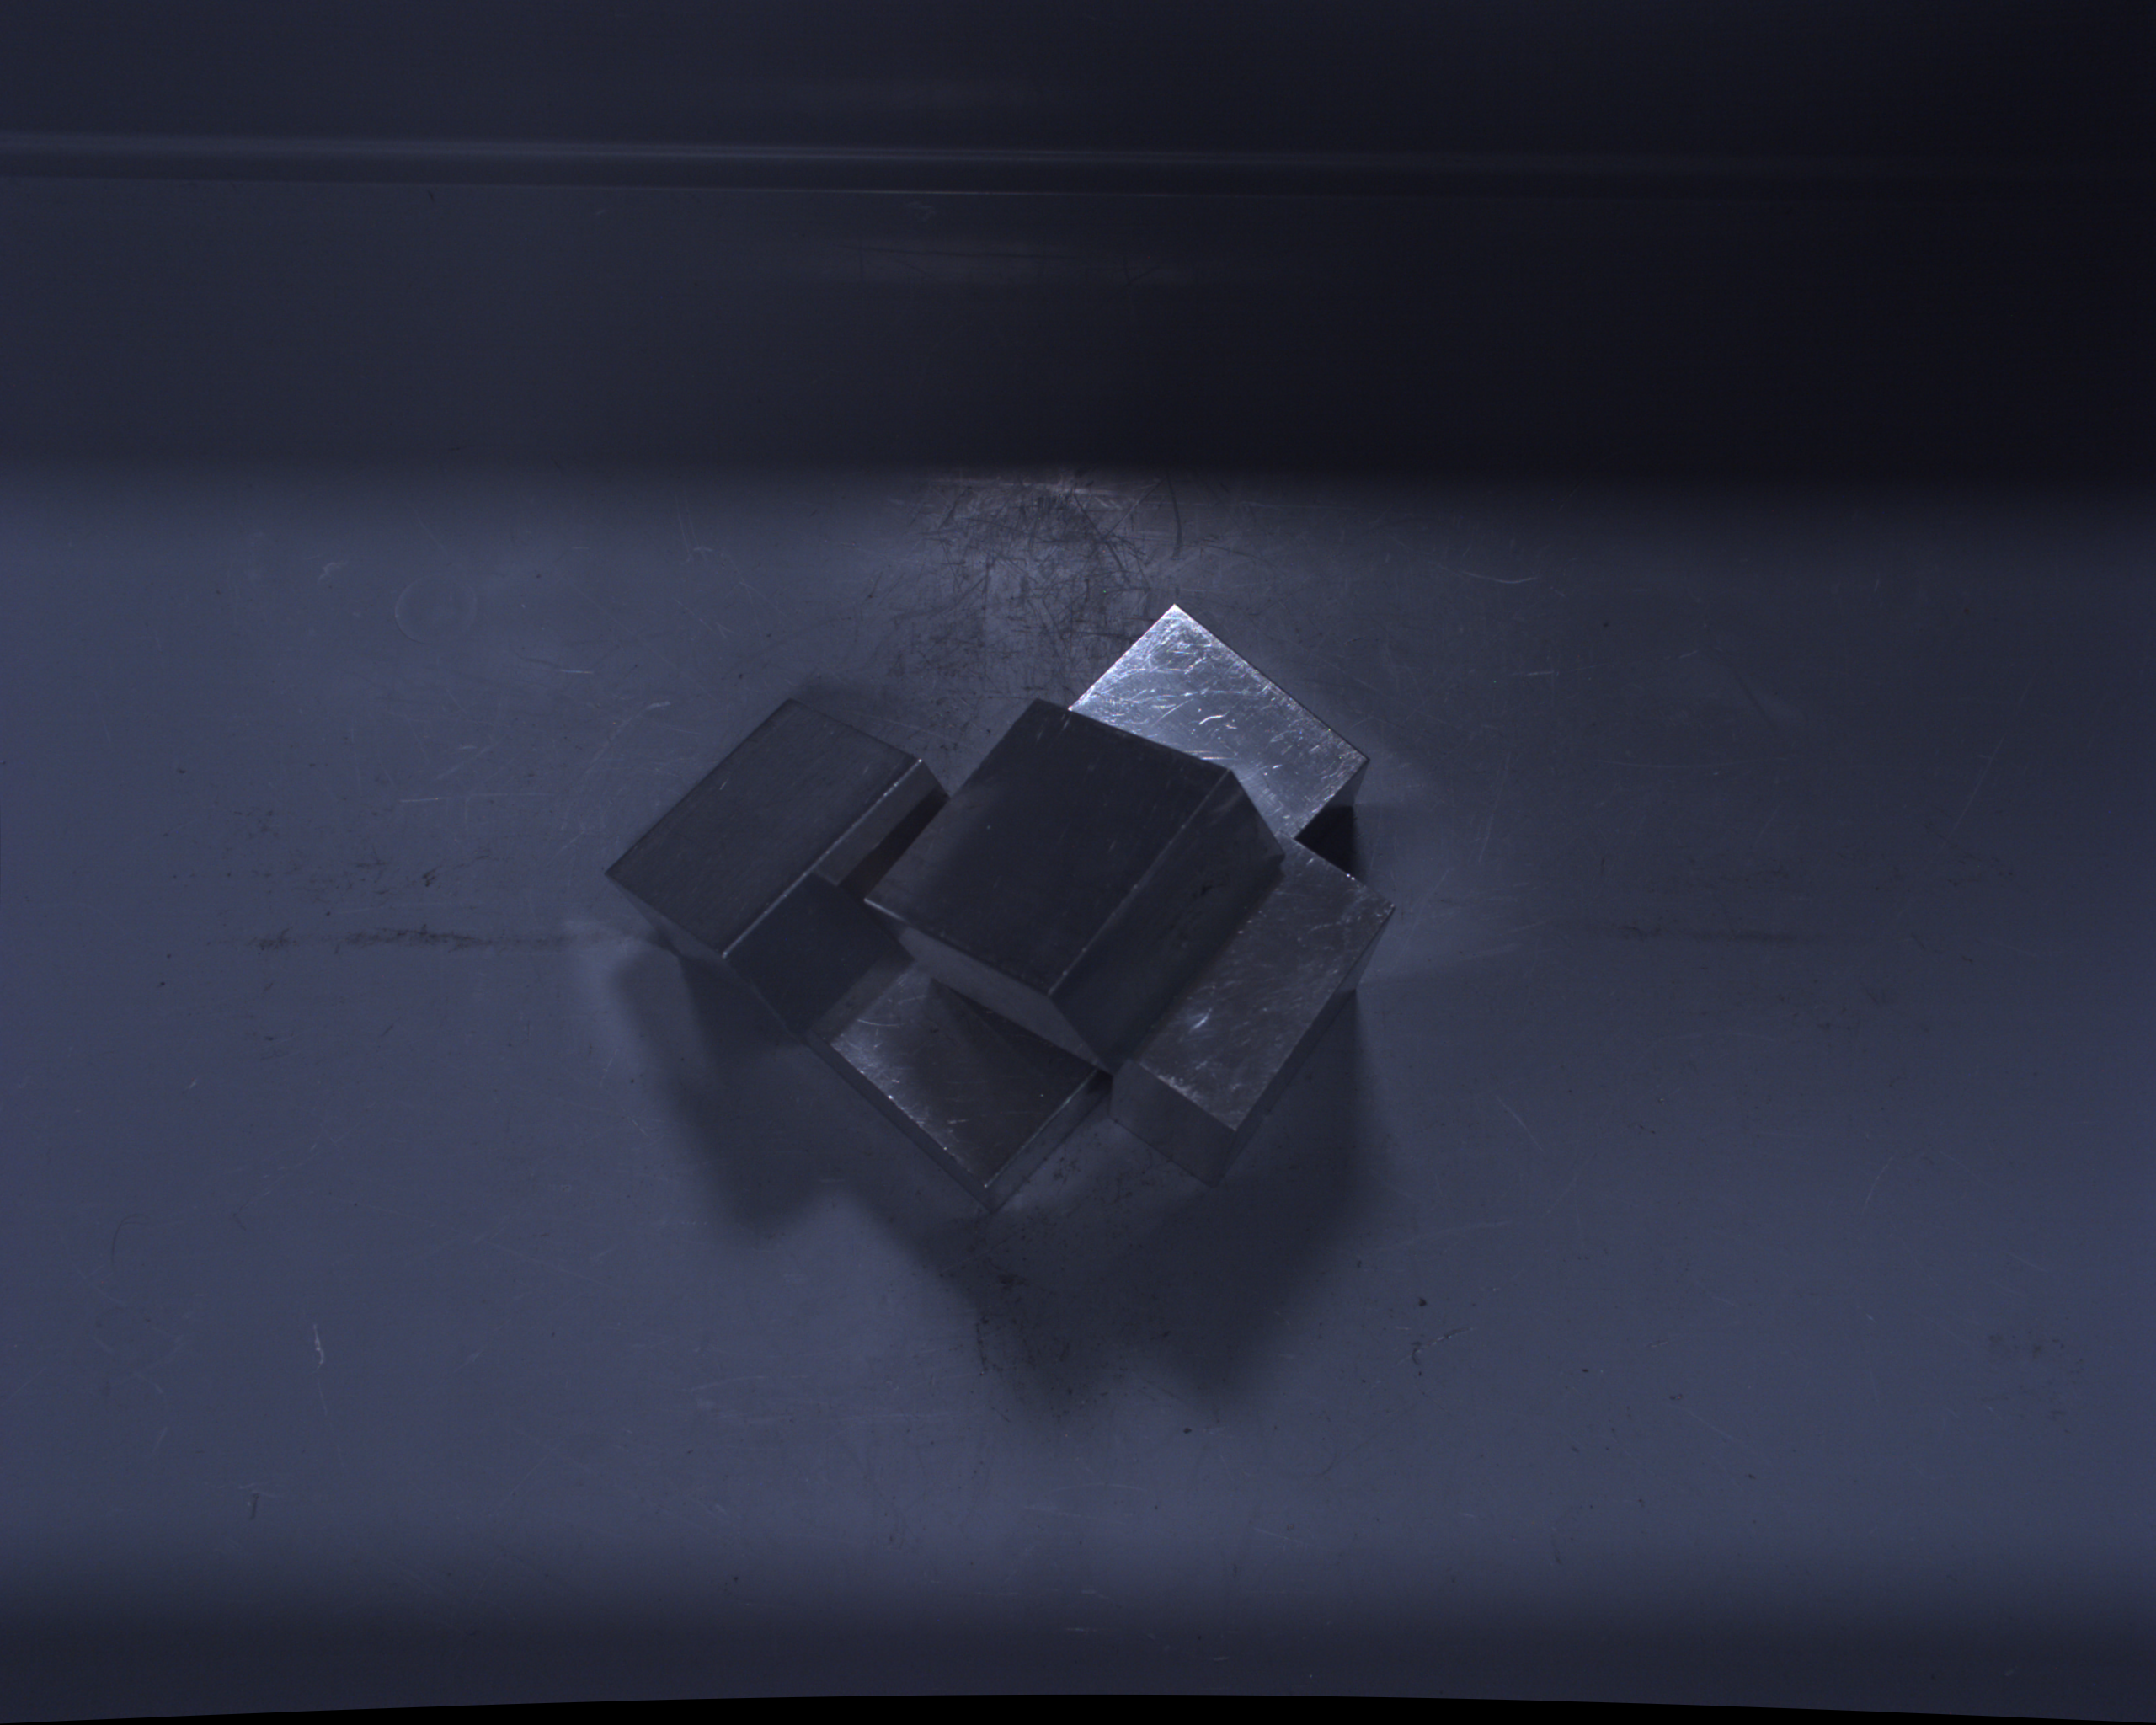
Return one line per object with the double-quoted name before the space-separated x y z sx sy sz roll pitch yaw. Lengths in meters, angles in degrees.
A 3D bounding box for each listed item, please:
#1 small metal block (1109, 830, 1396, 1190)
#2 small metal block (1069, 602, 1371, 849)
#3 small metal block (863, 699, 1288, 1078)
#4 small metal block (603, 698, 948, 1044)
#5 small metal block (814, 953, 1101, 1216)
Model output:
"small metal block" 0.031 0.028 0.384 0.025 0.050 0.050 34 73 11
"small metal block" 0.021 -0.014 0.413 0.050 0.025 0.050 40 75 13
"small metal block" -0.001 0.003 0.367 0.050 0.025 0.050 24 68 44
"small metal block" -0.054 0.000 0.394 0.050 0.025 0.050 -46 38 -15
"small metal block" -0.018 0.030 0.397 0.050 0.025 0.050 40 75 13
